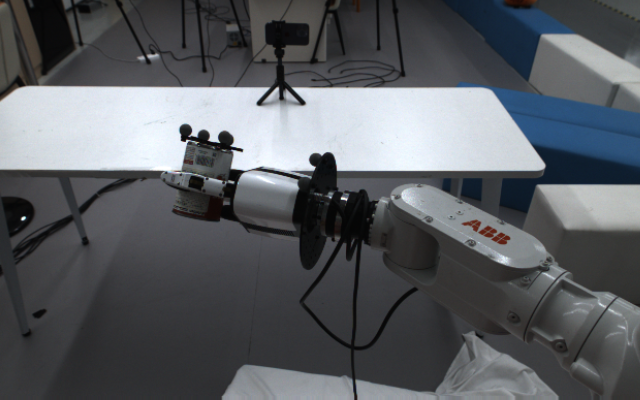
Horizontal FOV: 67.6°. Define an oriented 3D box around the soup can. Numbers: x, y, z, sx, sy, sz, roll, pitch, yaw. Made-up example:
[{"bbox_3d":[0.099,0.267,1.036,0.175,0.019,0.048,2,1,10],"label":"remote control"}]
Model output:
[{"bbox_3d":[-0.165,-0.024,0.684,0.067,0.101,0.067,12,1,0],"label":"soup can"}]
